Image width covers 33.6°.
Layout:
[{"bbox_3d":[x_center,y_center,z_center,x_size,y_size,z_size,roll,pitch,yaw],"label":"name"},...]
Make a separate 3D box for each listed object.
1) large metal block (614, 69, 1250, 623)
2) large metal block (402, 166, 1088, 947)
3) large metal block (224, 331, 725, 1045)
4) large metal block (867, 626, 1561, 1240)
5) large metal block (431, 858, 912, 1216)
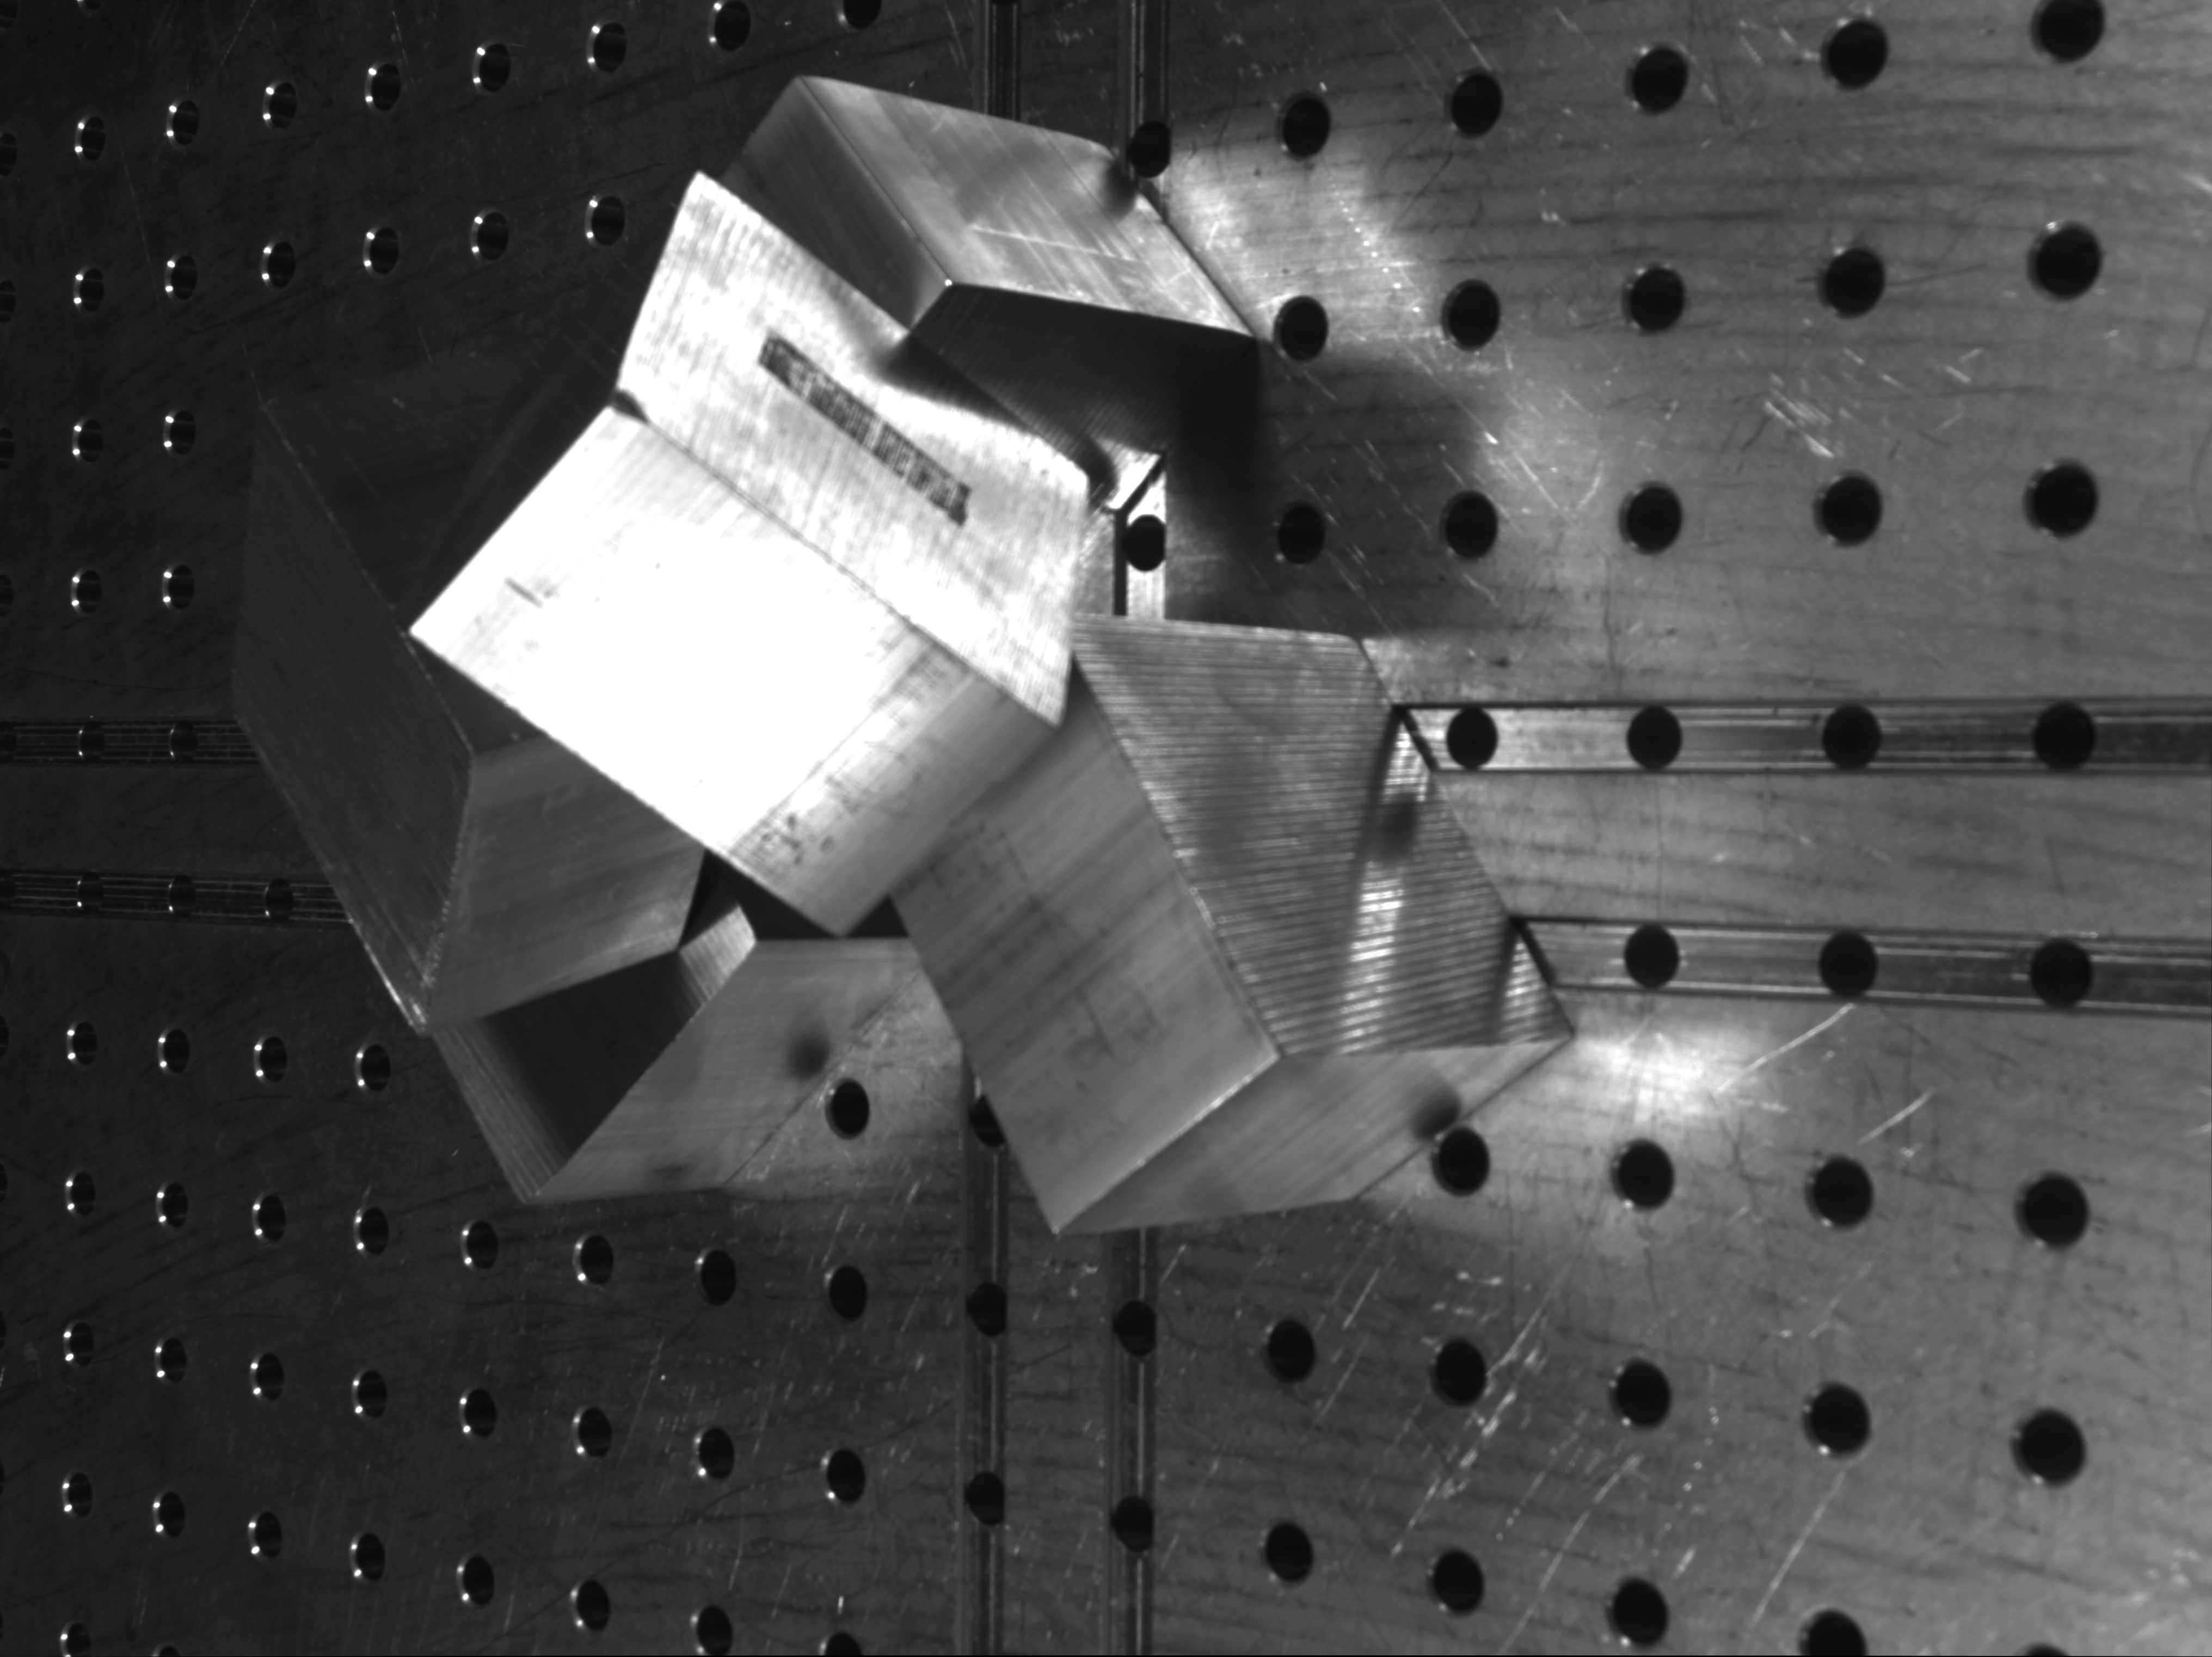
[{"bbox_3d":[-0.036,-0.078,0.632,0.080,0.080,0.050,-49,61,28],"label":"large metal block"},{"bbox_3d":[-0.051,-0.042,0.554,0.050,0.080,0.080,-44,21,26],"label":"large metal block"},{"bbox_3d":[-0.109,-0.024,0.627,0.080,0.050,0.080,55,147,25],"label":"large metal block"},{"bbox_3d":[0.015,0.016,0.589,0.050,0.080,0.080,-41,65,32],"label":"large metal block"},{"bbox_3d":[-0.088,0.016,0.695,0.080,0.050,0.080,-47,62,29],"label":"large metal block"}]
